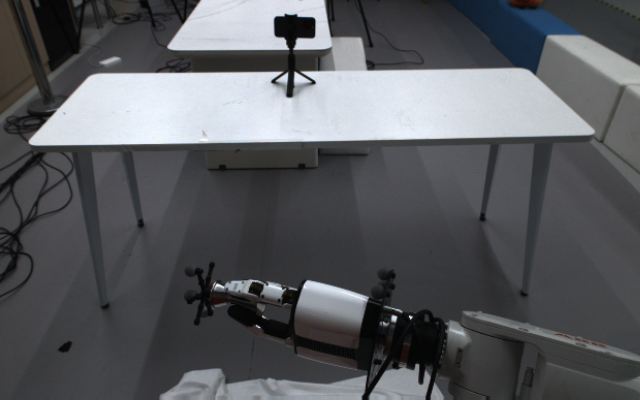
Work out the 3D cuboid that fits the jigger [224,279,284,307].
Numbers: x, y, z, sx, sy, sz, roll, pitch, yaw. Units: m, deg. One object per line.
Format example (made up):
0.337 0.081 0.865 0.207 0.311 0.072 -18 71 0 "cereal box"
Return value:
-0.103 0.129 0.661 0.071 0.043 0.043 4 34 13 "jigger"
